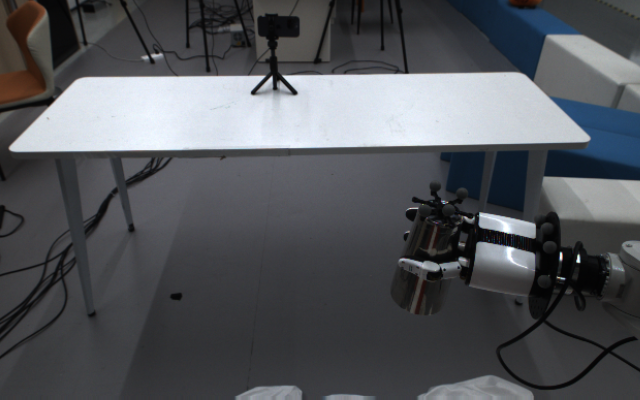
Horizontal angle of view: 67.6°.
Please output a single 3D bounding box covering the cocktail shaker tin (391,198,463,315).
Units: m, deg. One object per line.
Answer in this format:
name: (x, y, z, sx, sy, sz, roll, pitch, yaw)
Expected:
cocktail shaker tin: (0.170, 0.084, 0.750, 0.093, 0.170, 0.093, 4, 36, -3)
